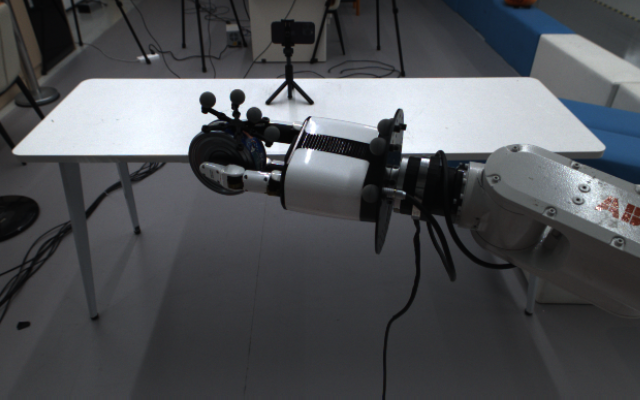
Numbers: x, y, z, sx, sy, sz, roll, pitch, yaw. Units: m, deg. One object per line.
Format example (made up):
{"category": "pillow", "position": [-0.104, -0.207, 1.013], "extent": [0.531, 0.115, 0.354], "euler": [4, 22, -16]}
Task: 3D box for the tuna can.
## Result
{"category": "tuna can", "position": [-0.106, -0.048, 0.562], "extent": [0.085, 0.085, 0.034], "euler": [12, 35, 14]}
